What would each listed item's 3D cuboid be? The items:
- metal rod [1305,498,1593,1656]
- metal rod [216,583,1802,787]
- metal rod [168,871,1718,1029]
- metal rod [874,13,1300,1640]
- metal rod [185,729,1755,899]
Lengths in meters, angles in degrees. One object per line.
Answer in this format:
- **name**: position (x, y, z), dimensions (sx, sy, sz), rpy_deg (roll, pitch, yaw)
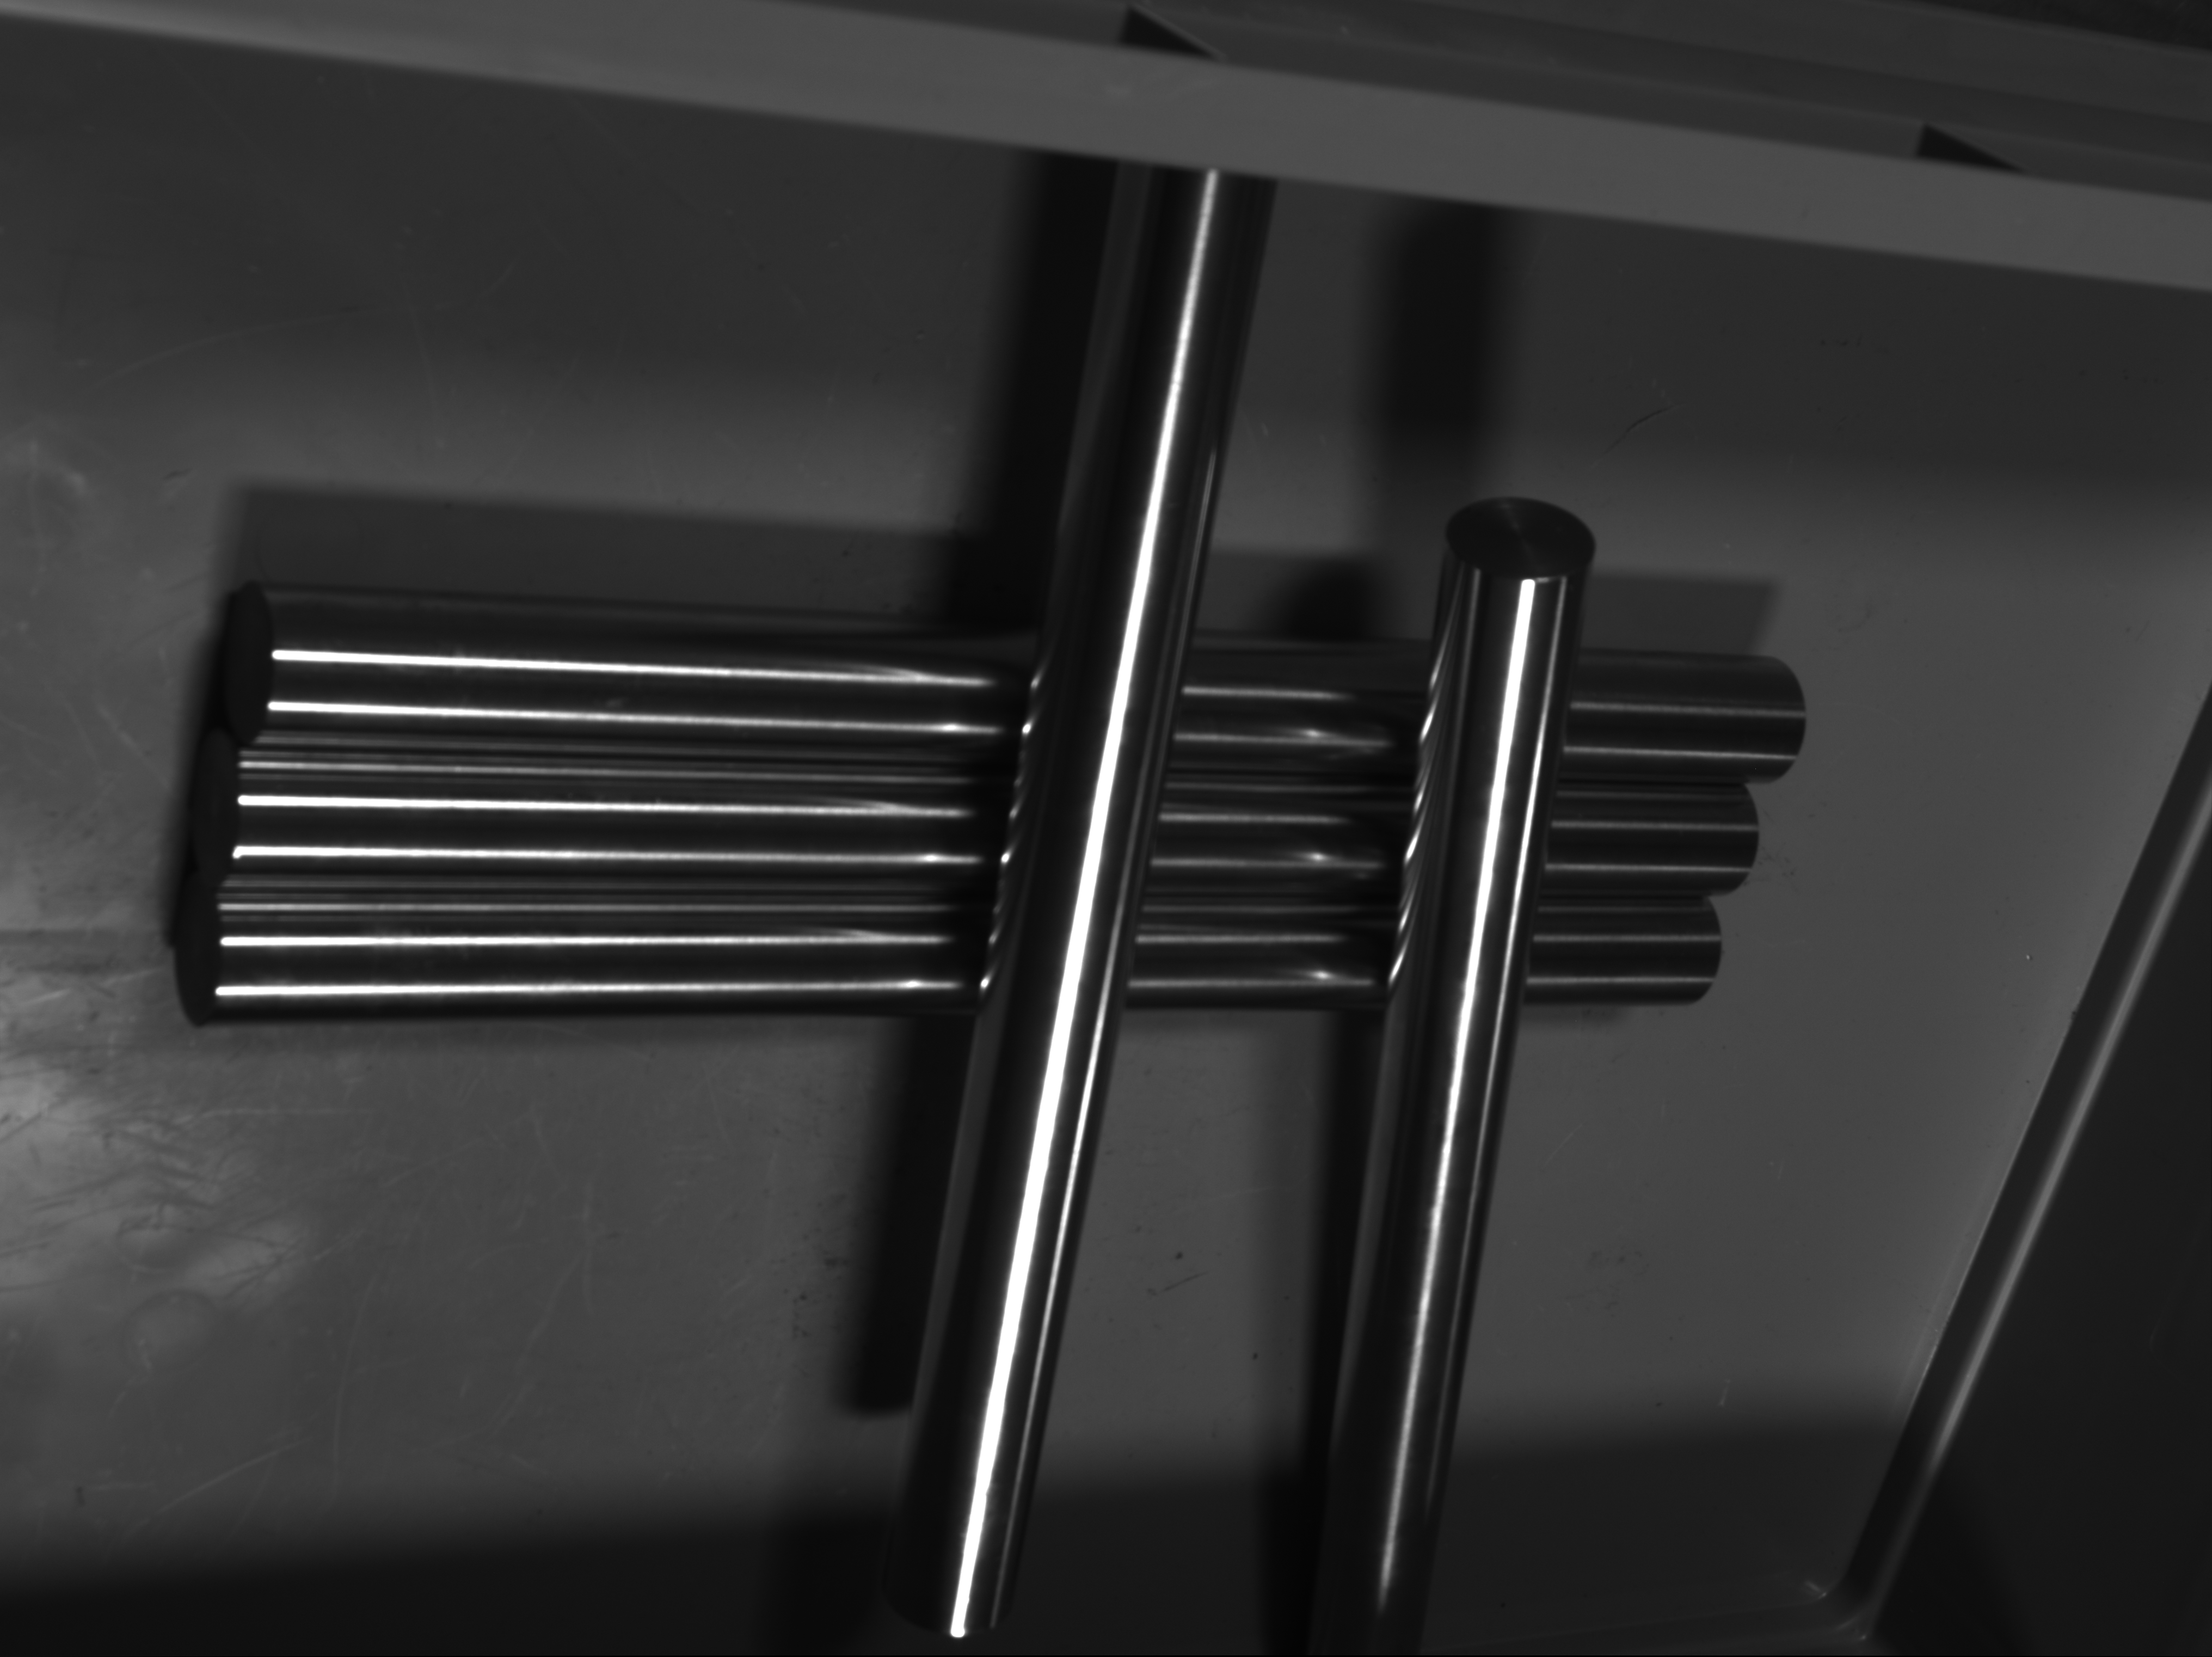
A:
- **metal rod**: position (0.062, 0.070, 0.703), dimensions (0.025, 0.025, 0.300), rpy_deg (-15, 131, -22)
- **metal rod**: position (-0.002, -0.023, 0.634), dimensions (0.301, 0.025, 0.025), rpy_deg (1, 118, -31)
- **metal rod**: position (-0.015, 0.021, 0.654), dimensions (0.301, 0.025, 0.025), rpy_deg (1, 118, -31)
- **metal rod**: position (-0.007, 0.012, 0.620), dimensions (0.025, 0.025, 0.300), rpy_deg (-5, 121, -28)
- **metal rod**: position (-0.010, -0.001, 0.644), dimensions (0.301, 0.025, 0.025), rpy_deg (1, 118, -31)
